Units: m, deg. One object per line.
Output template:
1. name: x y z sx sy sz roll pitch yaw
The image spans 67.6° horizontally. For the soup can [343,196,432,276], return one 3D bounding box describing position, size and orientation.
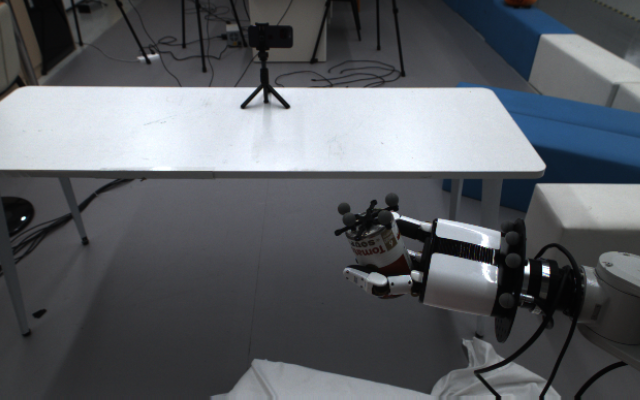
1. soup can: 0.083 0.070 0.642 0.067 0.101 0.067 -21 24 10
